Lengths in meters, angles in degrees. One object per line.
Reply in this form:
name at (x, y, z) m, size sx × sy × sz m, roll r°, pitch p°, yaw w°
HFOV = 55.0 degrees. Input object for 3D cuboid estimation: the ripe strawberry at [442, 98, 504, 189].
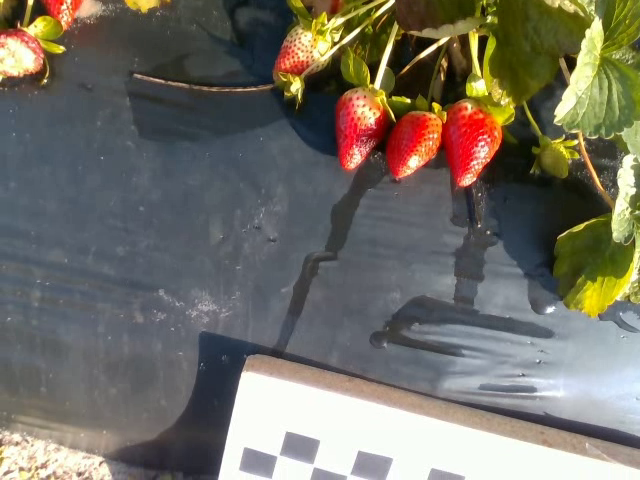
ripe strawberry at (0.075, -0.042, 0.310) m, size 0.035 × 0.041 × 0.033 m, roll 11°, pitch -24°, yaw 5°

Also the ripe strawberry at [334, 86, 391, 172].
ripe strawberry at (0.019, -0.057, 0.315) m, size 0.032 × 0.045 × 0.023 m, roll 14°, pitch 12°, yaw 3°

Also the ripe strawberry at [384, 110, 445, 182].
ripe strawberry at (0.046, -0.048, 0.307) m, size 0.031 × 0.039 × 0.036 m, roll 24°, pitch -37°, yaw -2°
